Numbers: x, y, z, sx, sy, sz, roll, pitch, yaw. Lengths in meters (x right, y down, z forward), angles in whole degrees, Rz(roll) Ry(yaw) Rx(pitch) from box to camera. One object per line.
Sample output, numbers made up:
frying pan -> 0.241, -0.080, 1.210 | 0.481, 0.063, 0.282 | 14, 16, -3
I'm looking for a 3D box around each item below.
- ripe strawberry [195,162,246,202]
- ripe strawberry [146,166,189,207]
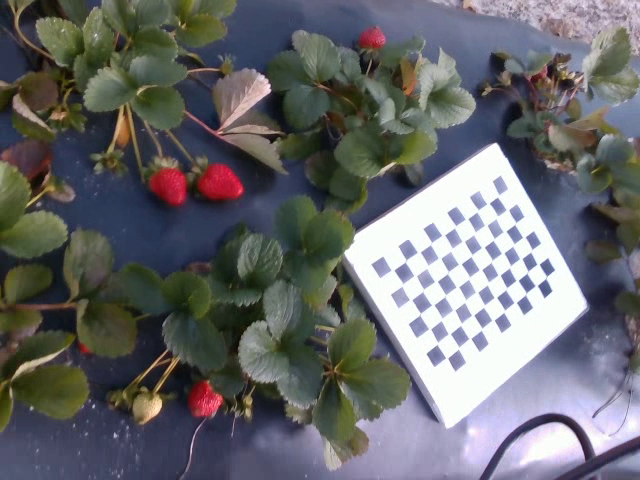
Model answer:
ripe strawberry -> -0.124, -0.071, 0.811 | 0.064, 0.058, 0.051 | 27, -27, 15
ripe strawberry -> -0.182, -0.063, 0.787 | 0.048, 0.056, 0.041 | -17, -26, -28
